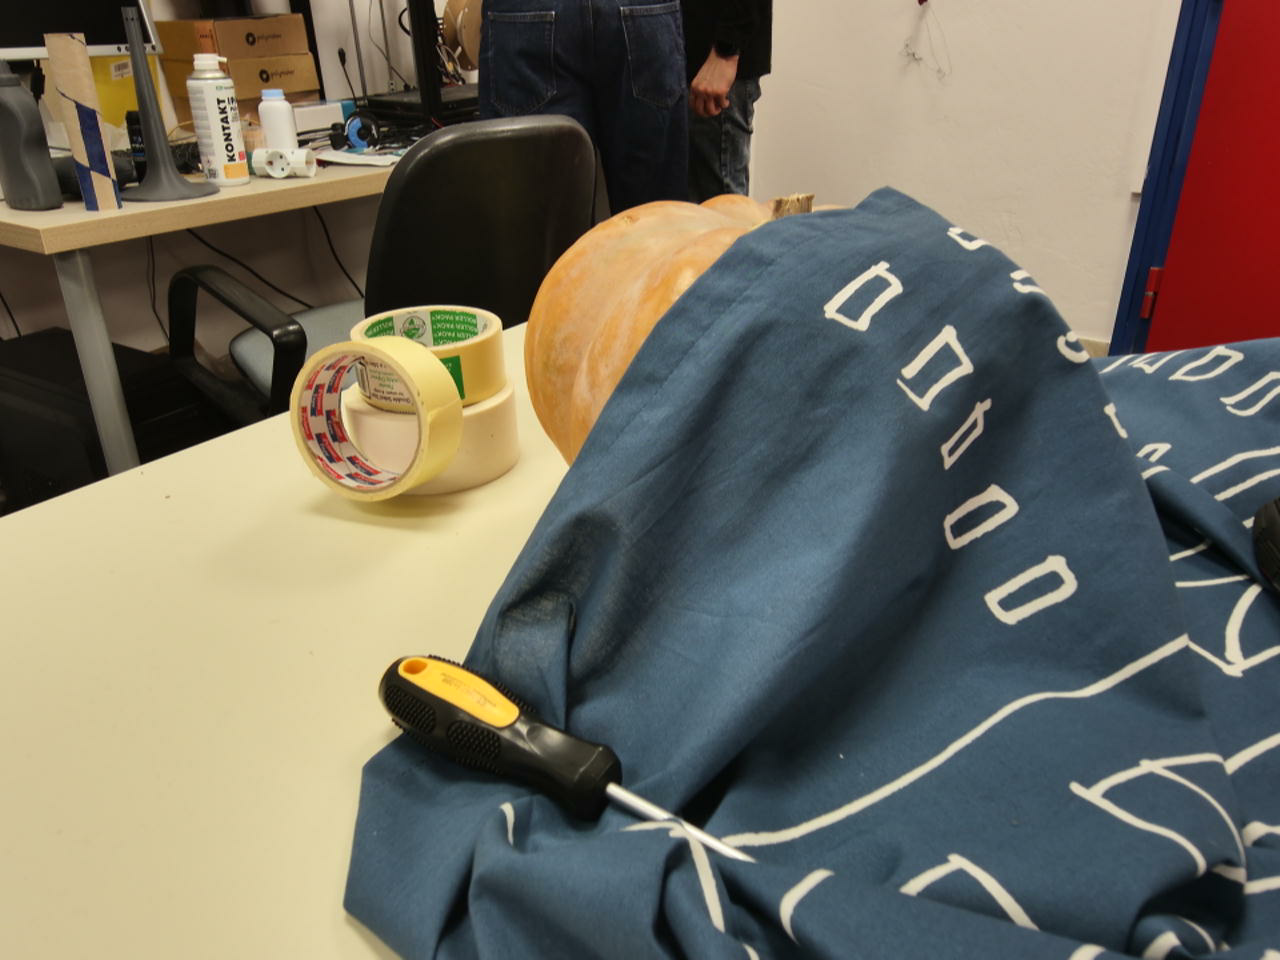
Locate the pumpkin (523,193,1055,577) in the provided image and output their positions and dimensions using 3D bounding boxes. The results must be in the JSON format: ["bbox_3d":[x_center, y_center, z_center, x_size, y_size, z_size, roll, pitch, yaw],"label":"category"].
[{"bbox_3d":[0.071,-0.059,0.535,0.277,0.181,0.277,0,24,0],"label":"pumpkin"}]
